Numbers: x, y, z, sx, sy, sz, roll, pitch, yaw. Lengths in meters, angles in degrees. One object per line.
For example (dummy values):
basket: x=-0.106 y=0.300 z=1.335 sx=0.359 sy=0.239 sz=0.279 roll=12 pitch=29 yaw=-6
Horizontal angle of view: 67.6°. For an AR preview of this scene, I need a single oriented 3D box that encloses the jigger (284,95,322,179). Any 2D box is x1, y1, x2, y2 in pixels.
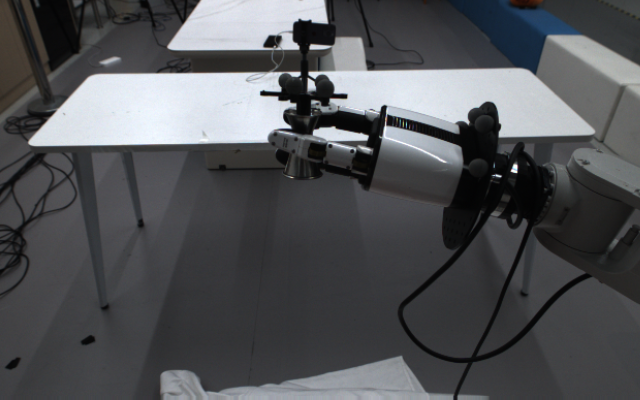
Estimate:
jigger: x=-0.018 y=-0.061 z=0.521 sx=0.043 sy=0.071 sz=0.043 roll=1 pitch=20 yaw=0
